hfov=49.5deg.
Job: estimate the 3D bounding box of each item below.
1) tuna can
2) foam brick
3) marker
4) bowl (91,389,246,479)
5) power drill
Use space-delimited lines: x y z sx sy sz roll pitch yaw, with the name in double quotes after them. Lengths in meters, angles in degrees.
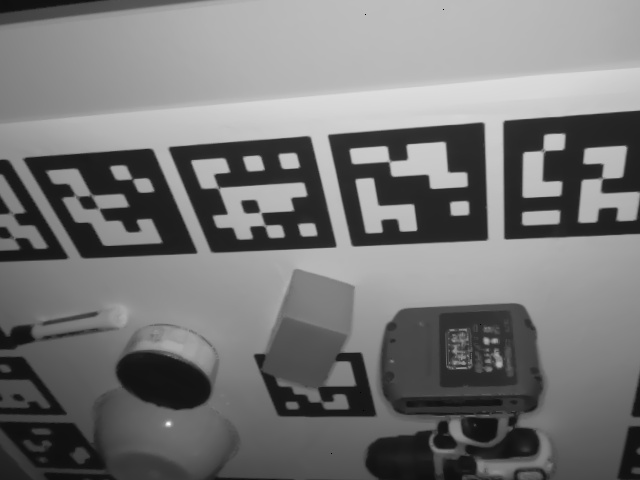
-0.133 0.115 0.627 0.085 0.034 0.085 5 130 7 "tuna can"
-0.003 0.063 0.562 0.051 0.053 0.077 16 129 -3 "foam brick"
-0.225 0.076 0.615 0.120 0.020 0.019 -11 125 17 "marker"
-0.160 0.217 0.715 0.162 0.056 0.160 1 136 2 "bowl"
0.129 0.146 0.607 0.183 0.058 0.186 -2 132 14 "power drill"
